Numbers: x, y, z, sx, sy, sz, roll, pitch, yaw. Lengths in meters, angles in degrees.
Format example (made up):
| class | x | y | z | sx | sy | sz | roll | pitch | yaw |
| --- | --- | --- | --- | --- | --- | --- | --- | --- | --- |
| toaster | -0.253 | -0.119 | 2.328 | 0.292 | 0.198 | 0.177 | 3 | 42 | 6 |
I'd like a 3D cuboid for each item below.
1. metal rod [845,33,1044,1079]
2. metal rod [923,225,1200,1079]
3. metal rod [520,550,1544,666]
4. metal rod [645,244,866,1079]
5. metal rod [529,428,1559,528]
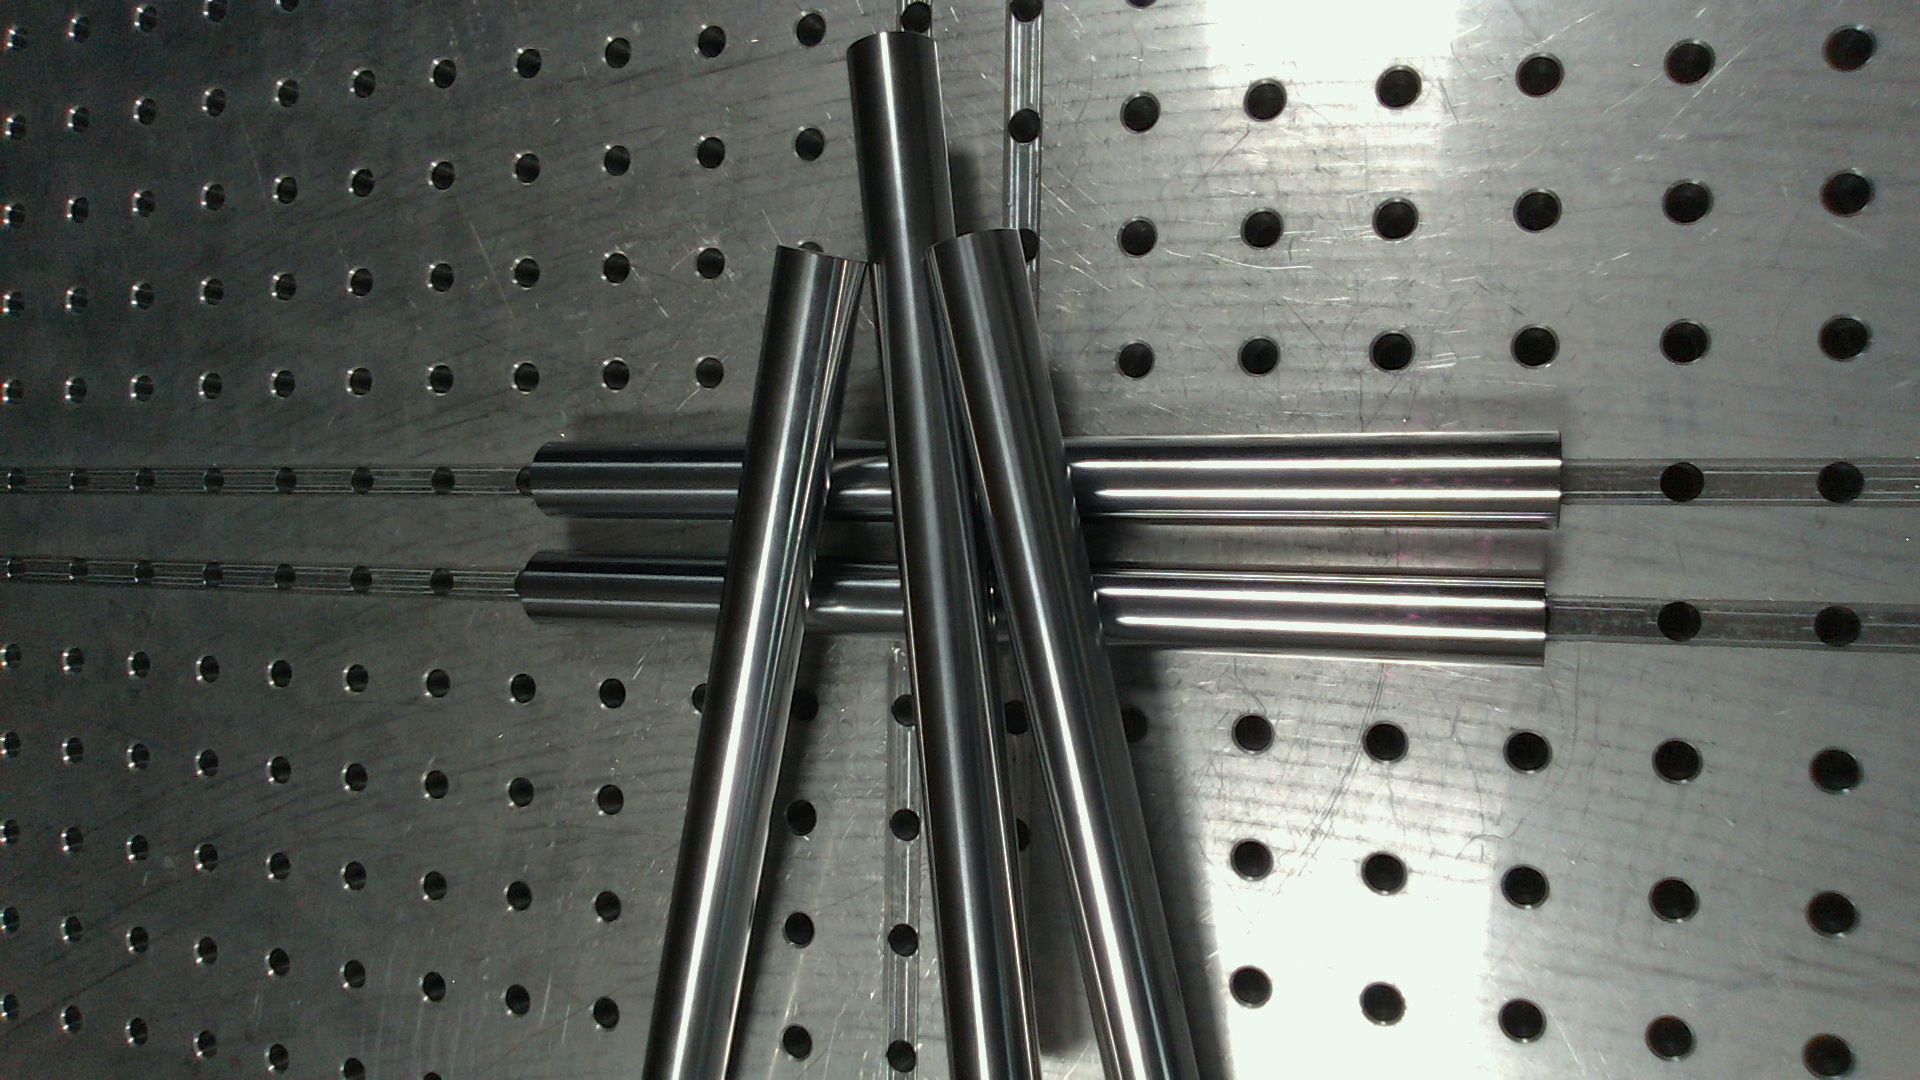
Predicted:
| class | x | y | z | sx | sy | sz | roll | pitch | yaw |
| --- | --- | --- | --- | --- | --- | --- | --- | --- | --- |
| metal rod | -0.003 | 0.015 | 0.373 | 0.025 | 0.025 | 0.300 | -7 | 88 | 20 |
| metal rod | 0.035 | 0.068 | 0.366 | 0.025 | 0.025 | 0.300 | -11 | 93 | 20 |
| metal rod | 0.006 | 0.017 | 0.397 | 0.299 | 0.025 | 0.025 | 1 | 90 | 20 |
| metal rod | -0.065 | 0.066 | 0.403 | 0.025 | 0.025 | 0.300 | 15 | 102 | 19 |
| metal rod | 0.009 | -0.017 | 0.396 | 0.299 | 0.025 | 0.025 | 1 | 90 | 20 |
